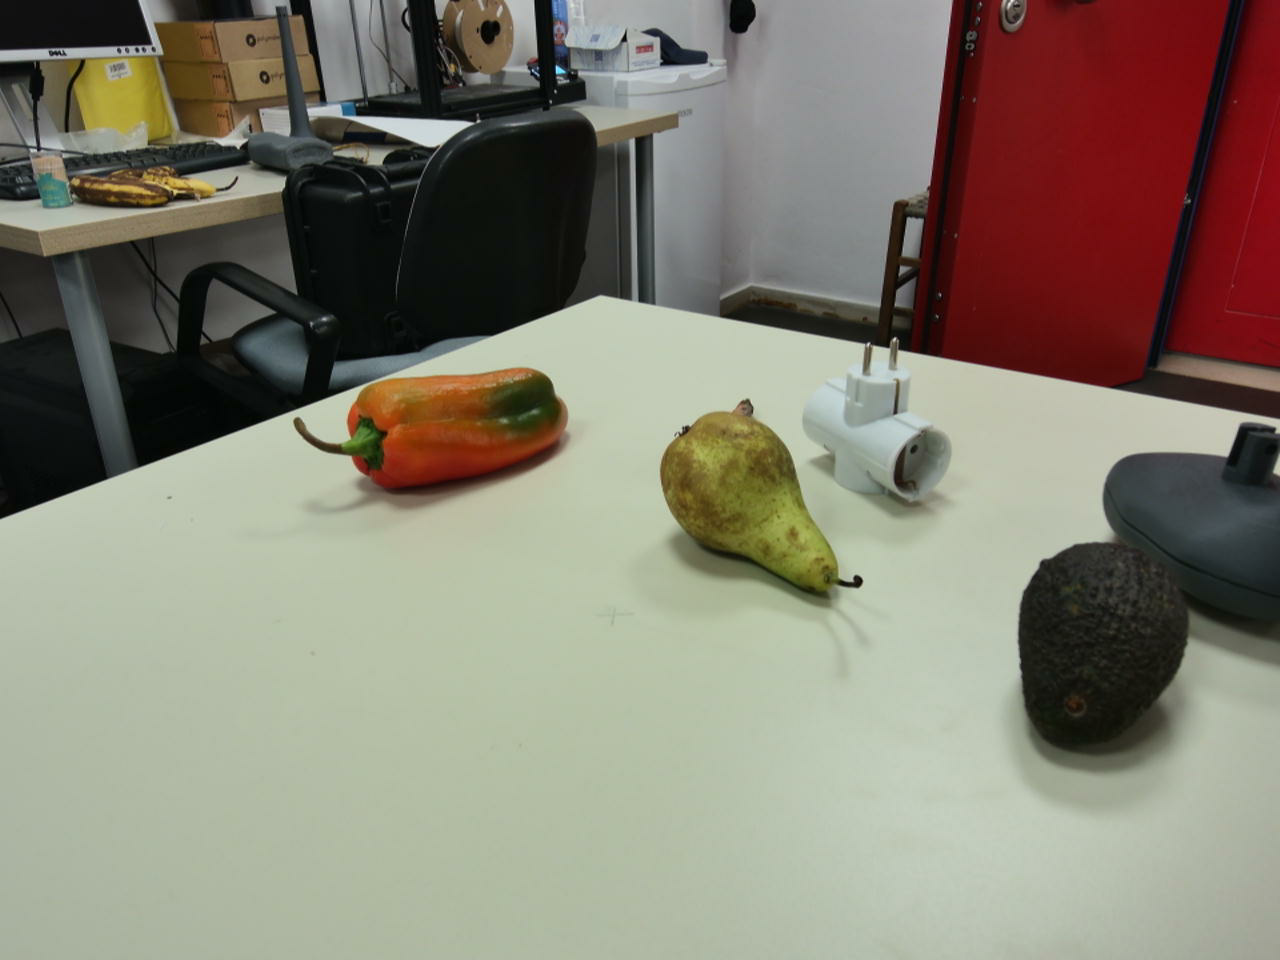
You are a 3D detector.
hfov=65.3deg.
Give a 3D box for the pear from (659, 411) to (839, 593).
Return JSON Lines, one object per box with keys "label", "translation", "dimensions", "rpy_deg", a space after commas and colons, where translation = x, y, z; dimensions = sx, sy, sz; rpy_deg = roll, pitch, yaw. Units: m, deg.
{"label": "pear", "translation": [0.073, 0.010, 0.524], "dimensions": [0.144, 0.075, 0.071], "rpy_deg": [21, 32, 39]}
